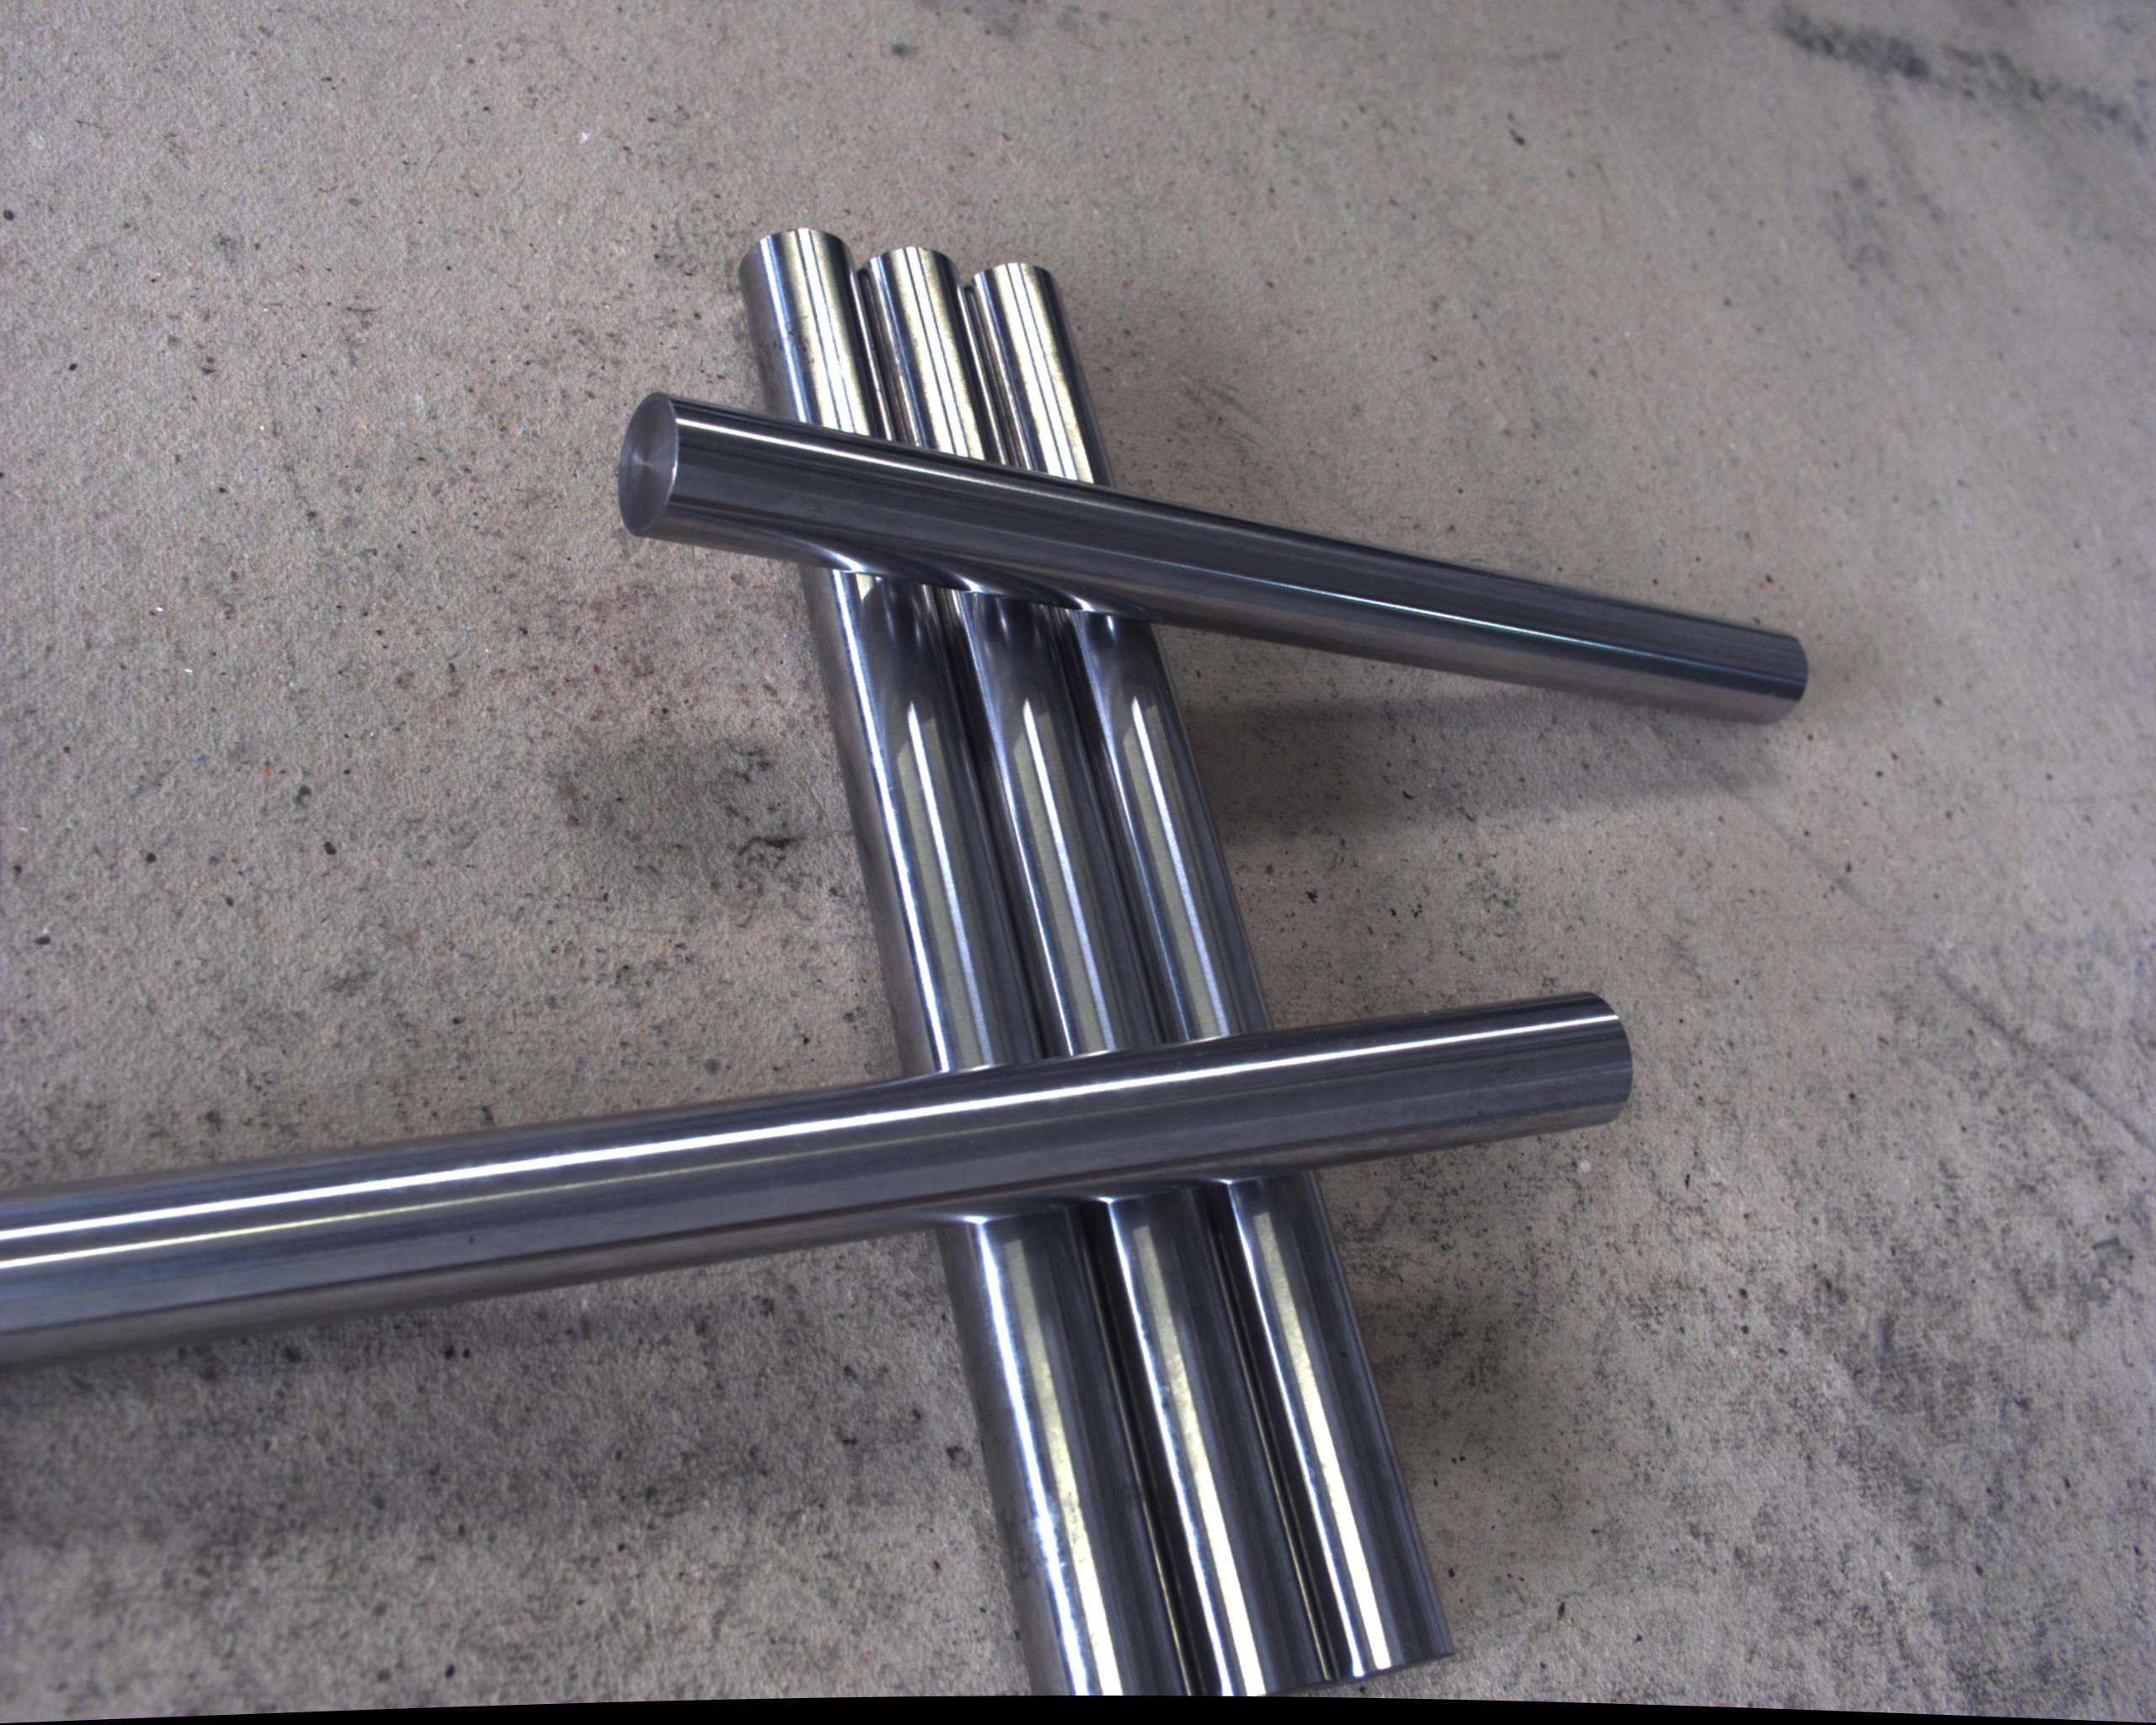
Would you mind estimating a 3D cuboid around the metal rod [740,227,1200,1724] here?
[{"bbox_3d":[-0.027,0.003,0.388,0.025,0.025,0.299,0,62,-28],"label":"metal rod"}]

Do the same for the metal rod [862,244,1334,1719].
[{"bbox_3d":[-0.005,0.004,0.400,0.025,0.025,0.299,0,62,-28],"label":"metal rod"}]

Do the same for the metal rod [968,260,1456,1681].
[{"bbox_3d":[0.018,0.003,0.412,0.025,0.025,0.299,0,62,-28],"label":"metal rod"}]

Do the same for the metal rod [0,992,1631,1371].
[{"bbox_3d":[-0.045,0.048,0.327,0.303,0.025,0.025,-5,64,-23],"label":"metal rod"}]

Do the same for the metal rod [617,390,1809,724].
[{"bbox_3d":[0.050,-0.058,0.442,0.302,0.025,0.025,5,59,-35],"label":"metal rod"}]
